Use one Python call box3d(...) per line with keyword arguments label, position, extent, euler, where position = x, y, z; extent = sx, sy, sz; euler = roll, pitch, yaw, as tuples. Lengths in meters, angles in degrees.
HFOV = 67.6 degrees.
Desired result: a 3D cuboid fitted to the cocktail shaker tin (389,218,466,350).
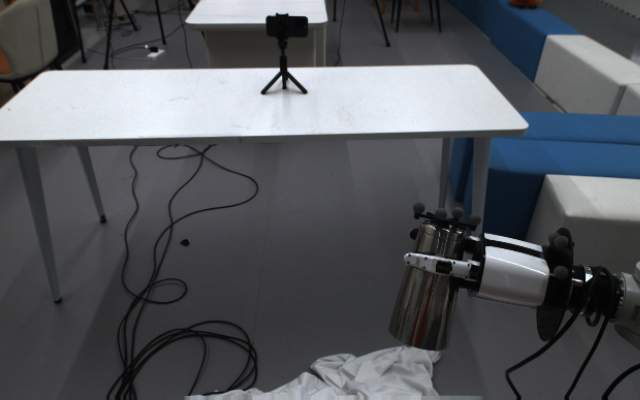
box3d(label="cocktail shaker tin", position=(0.167, 0.117, 0.712), extent=(0.093, 0.170, 0.093), euler=(10, 9, -2))
